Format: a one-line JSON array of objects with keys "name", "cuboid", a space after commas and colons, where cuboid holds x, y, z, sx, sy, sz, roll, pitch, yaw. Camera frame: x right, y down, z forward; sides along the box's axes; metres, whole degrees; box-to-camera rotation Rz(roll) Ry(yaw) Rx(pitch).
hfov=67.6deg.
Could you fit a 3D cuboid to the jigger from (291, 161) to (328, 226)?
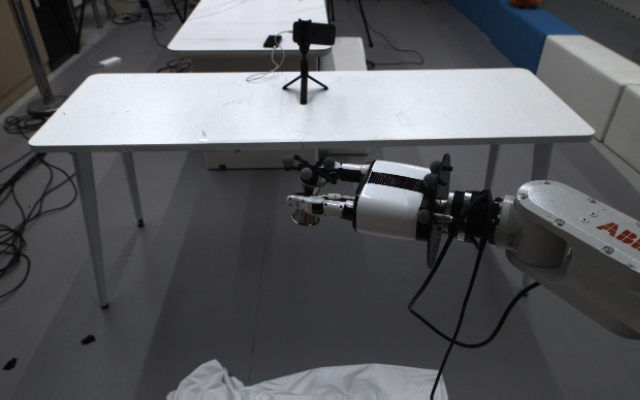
[{"name": "jigger", "cuboid": [-0.017, -0.002, 0.719, 0.043, 0.071, 0.043, 9, 30, -5]}]
